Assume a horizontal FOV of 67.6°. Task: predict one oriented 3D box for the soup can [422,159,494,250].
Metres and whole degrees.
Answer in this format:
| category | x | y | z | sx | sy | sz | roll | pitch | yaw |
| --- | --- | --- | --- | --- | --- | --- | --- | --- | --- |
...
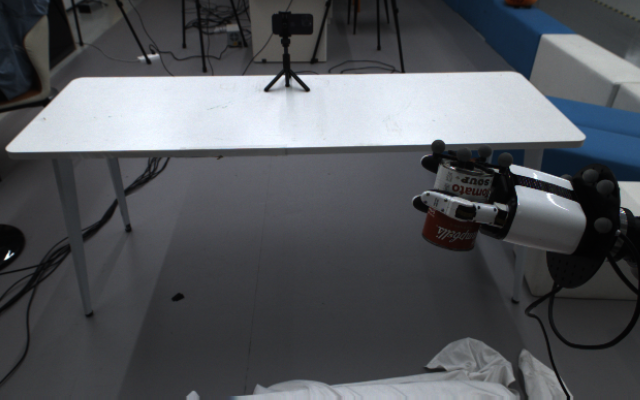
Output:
| category | x | y | z | sx | sy | sz | roll | pitch | yaw |
| --- | --- | --- | --- | --- | --- | --- | --- | --- | --- |
| soup can | 0.174 | 0.004 | 0.608 | 0.067 | 0.101 | 0.067 | 9 | 19 | -3 |
